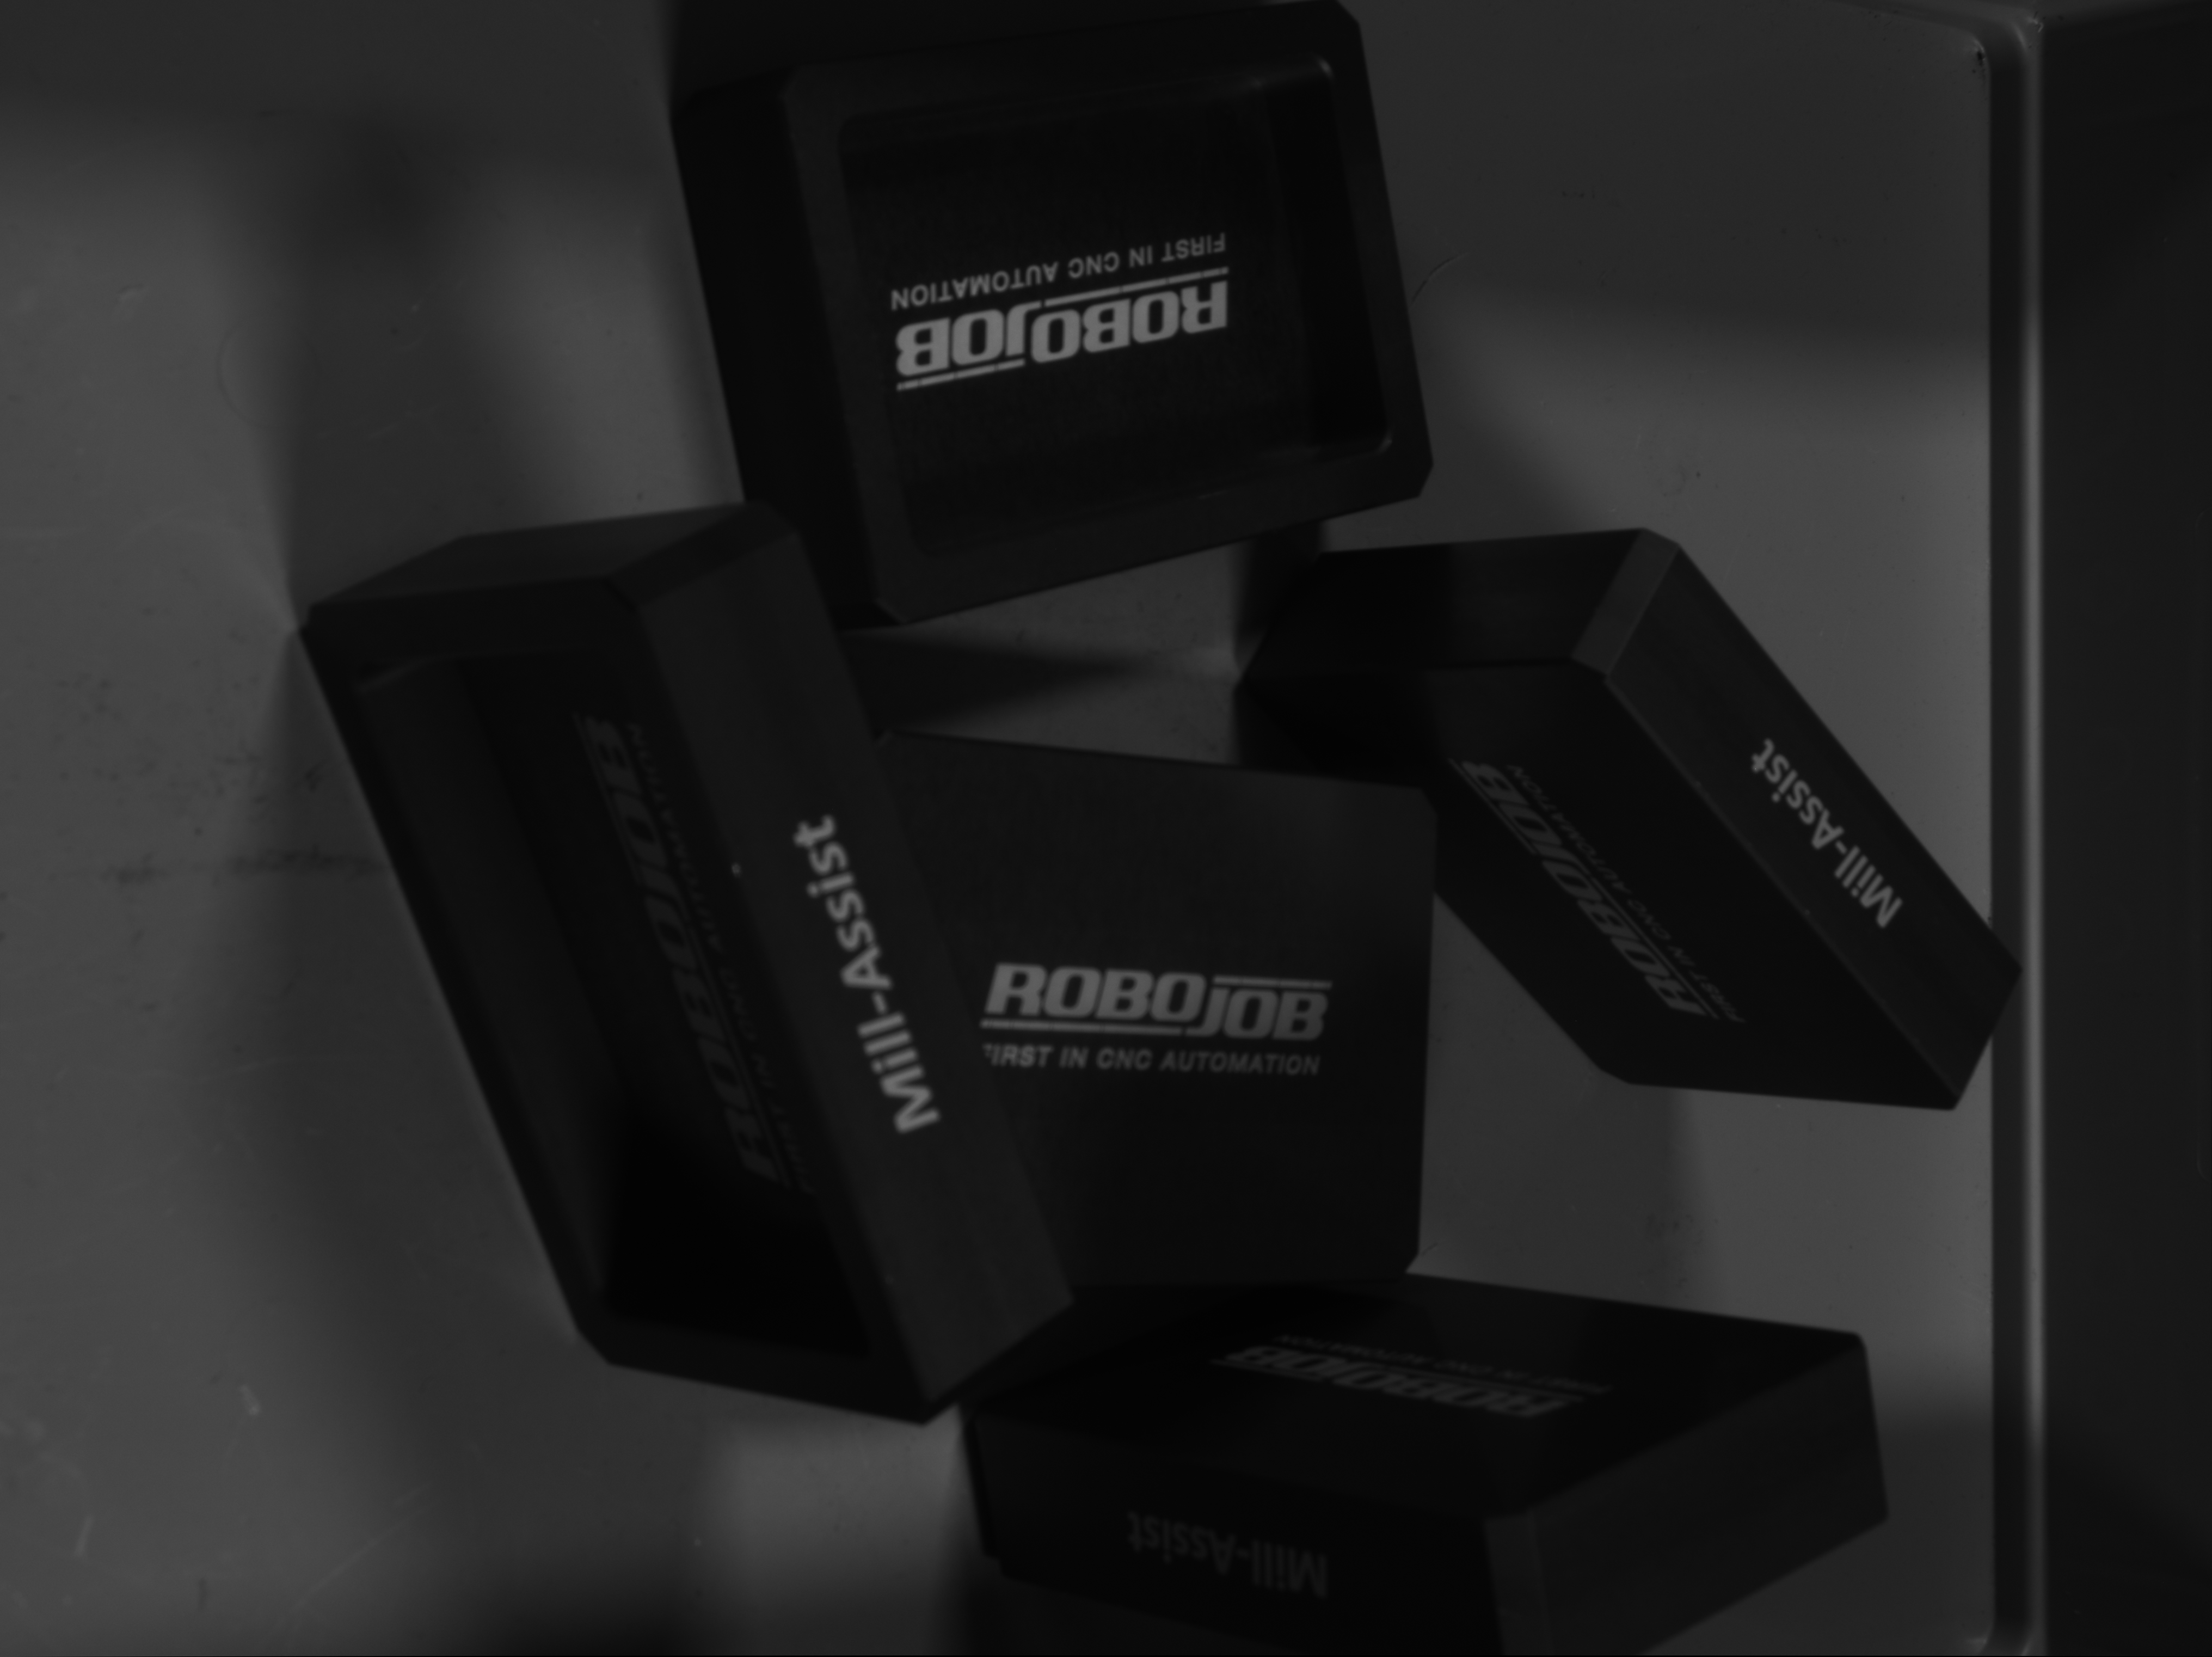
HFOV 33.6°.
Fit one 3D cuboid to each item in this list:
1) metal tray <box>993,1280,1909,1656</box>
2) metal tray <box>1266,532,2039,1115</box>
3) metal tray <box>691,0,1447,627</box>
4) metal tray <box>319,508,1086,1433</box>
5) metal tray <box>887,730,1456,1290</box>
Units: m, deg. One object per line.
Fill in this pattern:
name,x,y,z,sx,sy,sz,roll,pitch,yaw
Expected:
metal tray,0.055,0.106,0.612,0.090,0.130,0.030,-16,100,-39
metal tray,0.101,0.001,0.677,0.130,0.090,0.030,46,63,-30
metal tray,-0.003,-0.091,0.630,0.130,0.030,0.090,-17,101,-39
metal tray,-0.061,0.021,0.542,0.030,0.090,0.130,-31,109,-37
metal tray,0.003,0.033,0.633,0.130,0.030,0.090,5,87,-40
